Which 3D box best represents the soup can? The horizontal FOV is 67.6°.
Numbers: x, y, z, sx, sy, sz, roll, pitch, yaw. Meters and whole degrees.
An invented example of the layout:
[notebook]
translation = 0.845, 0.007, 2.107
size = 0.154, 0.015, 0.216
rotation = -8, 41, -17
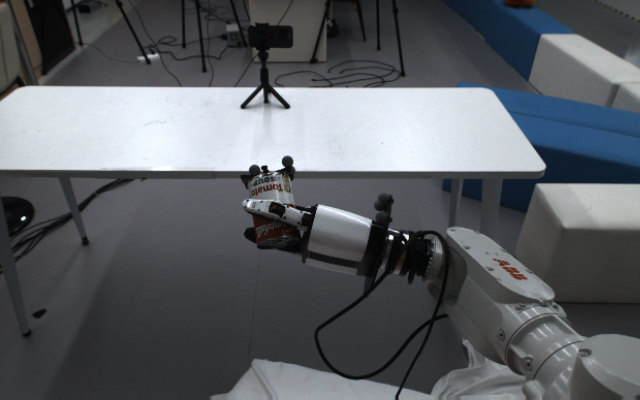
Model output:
[soup can]
translation = -0.069, 0.017, 0.728
size = 0.067, 0.067, 0.101
rotation = -8, 74, -14
